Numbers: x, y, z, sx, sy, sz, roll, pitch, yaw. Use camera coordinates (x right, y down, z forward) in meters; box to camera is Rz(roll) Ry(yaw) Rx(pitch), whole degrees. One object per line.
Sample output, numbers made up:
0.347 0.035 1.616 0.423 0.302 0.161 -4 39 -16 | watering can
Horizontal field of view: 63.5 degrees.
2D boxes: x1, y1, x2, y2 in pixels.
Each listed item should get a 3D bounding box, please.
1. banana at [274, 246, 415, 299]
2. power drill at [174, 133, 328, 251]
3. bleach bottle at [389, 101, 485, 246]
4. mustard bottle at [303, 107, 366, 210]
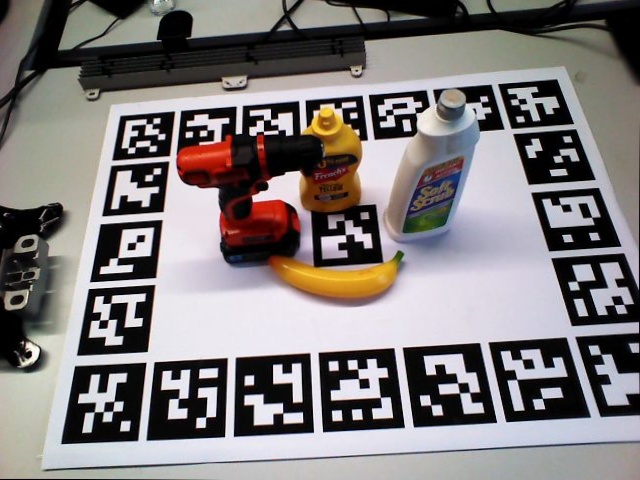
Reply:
0.033 0.047 0.719 0.198 0.039 0.074 -2 66 5 | banana
-0.081 -0.063 0.680 0.185 0.188 0.057 -5 55 -2 | power drill
0.150 -0.081 0.670 0.103 0.251 0.067 -11 63 -2 | bleach bottle
0.019 -0.114 0.721 0.096 0.192 0.058 -3 61 1 | mustard bottle
